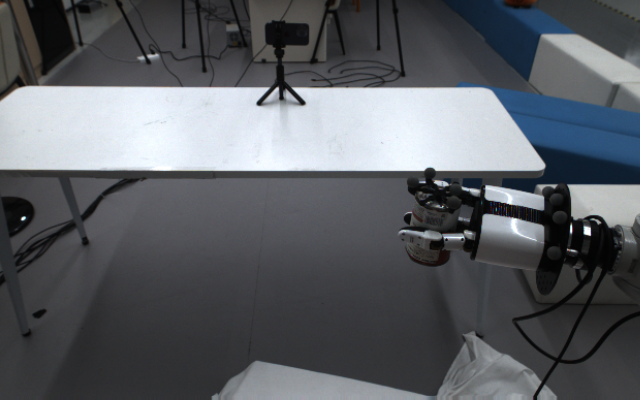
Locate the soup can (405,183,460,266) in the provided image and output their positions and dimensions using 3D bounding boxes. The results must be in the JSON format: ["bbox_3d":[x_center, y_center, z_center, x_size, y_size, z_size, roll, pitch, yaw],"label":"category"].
[{"bbox_3d":[0.168,0.038,0.715,0.067,0.101,0.067,2,32,-1],"label":"soup can"}]
